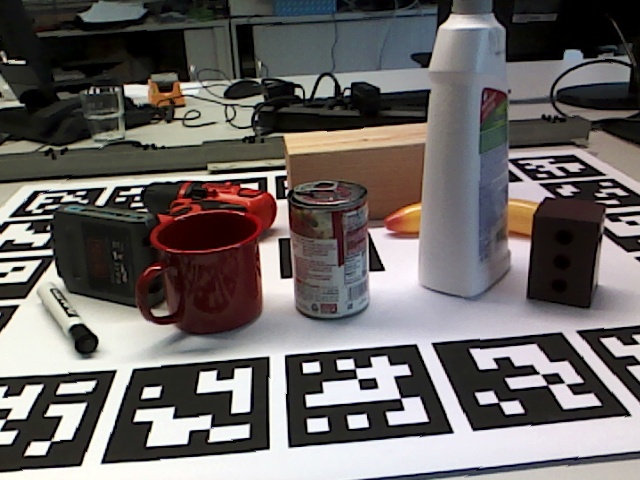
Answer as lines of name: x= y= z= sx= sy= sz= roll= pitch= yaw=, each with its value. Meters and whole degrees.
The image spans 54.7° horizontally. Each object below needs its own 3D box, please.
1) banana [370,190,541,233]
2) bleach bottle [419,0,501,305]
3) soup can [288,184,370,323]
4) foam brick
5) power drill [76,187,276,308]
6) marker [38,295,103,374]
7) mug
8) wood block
banana: x=0.151 y=-0.028 z=0.675 sx=0.198 sy=0.039 sz=0.074 roll=3 pitch=39 yaw=8
bleach bottle: x=0.125 y=-0.075 z=0.535 sx=0.068 sy=0.250 sz=0.102 roll=7 pitch=25 yaw=22
soup can: x=0.008 y=0.010 z=0.525 sx=0.068 sy=0.102 sz=0.068 roll=-1 pitch=21 yaw=0
foam brick: x=0.213 y=0.017 z=0.537 sx=0.053 sy=0.078 sz=0.051 roll=8 pitch=25 yaw=27
power drill: x=-0.163 y=-0.005 z=0.654 sx=0.185 sy=0.057 sz=0.186 roll=11 pitch=27 yaw=19
marker: x=-0.211 y=0.078 z=0.520 sx=0.019 sy=0.019 sz=0.122 roll=-22 pitch=32 yaw=-31
mug: x=-0.098 y=0.036 z=0.518 sx=0.094 sy=0.081 sz=0.117 roll=17 pitch=35 yaw=32
wood block: x=0.059 y=-0.078 z=0.739 sx=0.206 sy=0.091 sz=0.090 roll=-6 pitch=26 yaw=-6
